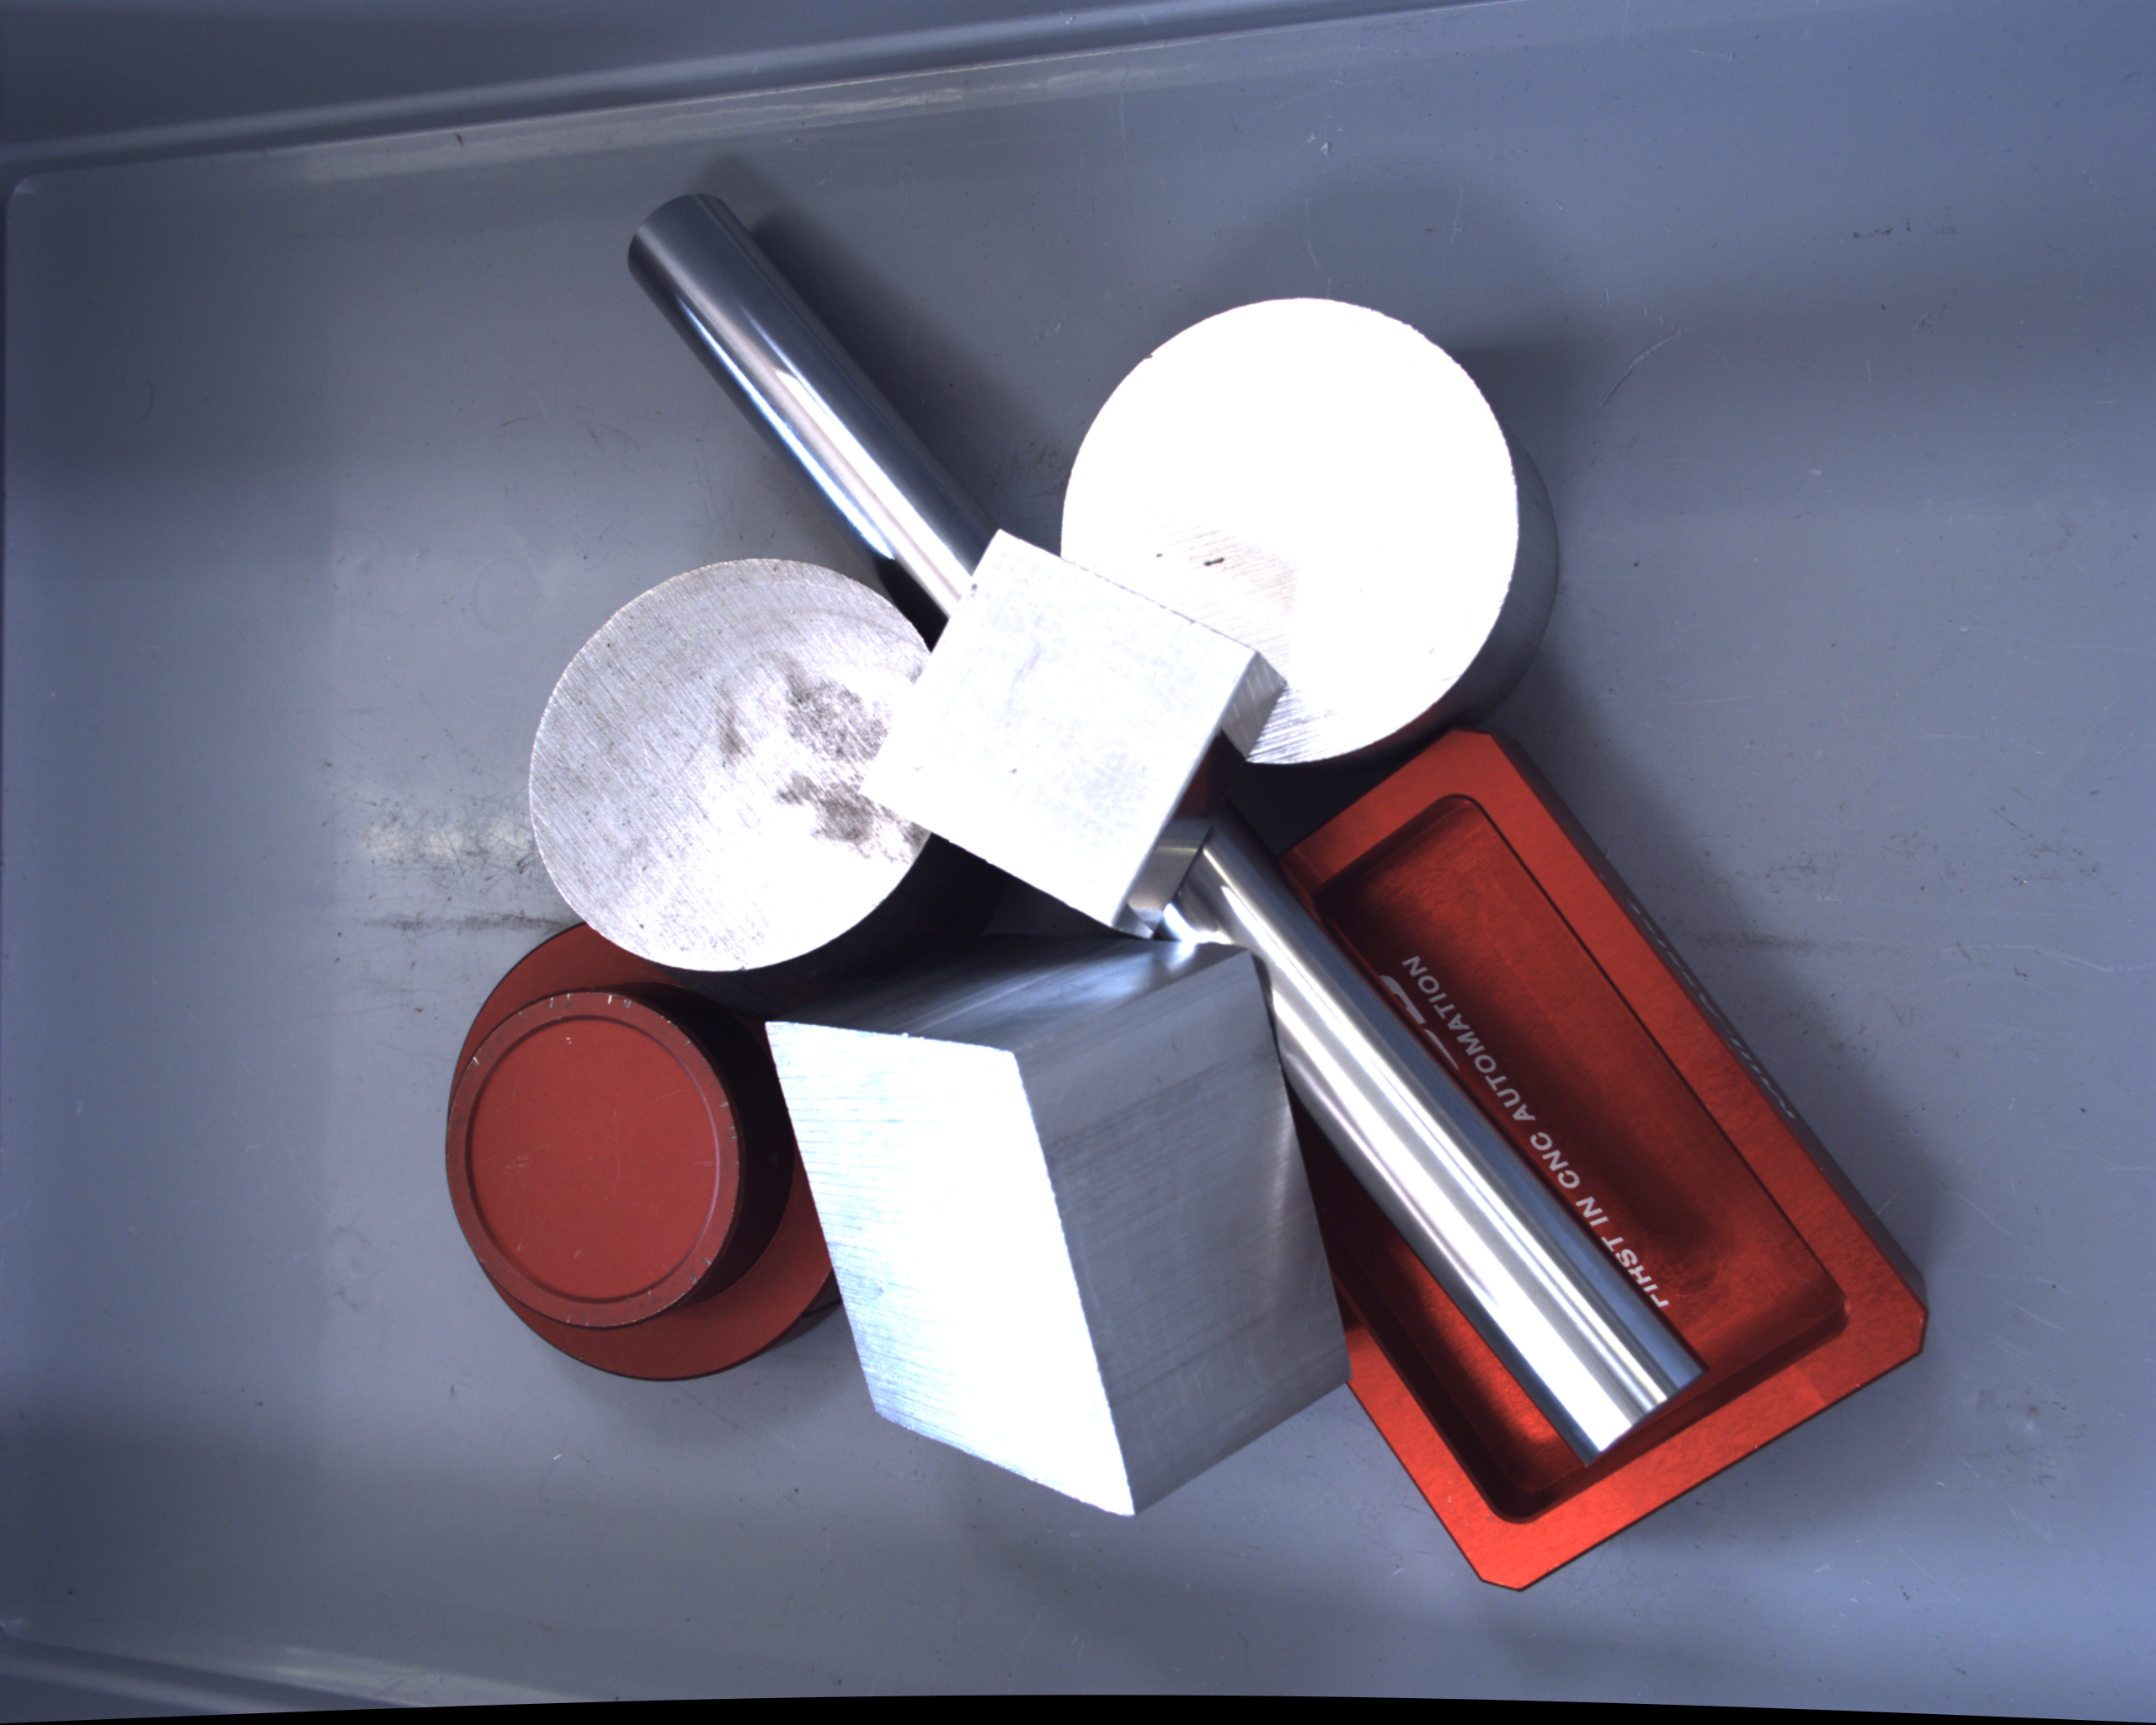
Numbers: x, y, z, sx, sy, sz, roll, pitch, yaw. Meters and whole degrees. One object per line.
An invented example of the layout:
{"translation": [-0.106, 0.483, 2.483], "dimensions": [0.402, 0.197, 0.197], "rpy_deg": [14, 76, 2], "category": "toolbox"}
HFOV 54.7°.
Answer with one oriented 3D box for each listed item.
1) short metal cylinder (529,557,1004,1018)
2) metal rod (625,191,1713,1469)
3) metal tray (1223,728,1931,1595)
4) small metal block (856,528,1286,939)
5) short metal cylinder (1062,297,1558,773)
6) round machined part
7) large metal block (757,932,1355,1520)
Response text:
{"translation": [-0.057, -0.012, 0.404], "dimensions": [0.080, 0.050, 0.080], "rpy_deg": [-3, 73, 10], "category": "short metal cylinder"}
{"translation": [0.003, -0.022, 0.381], "dimensions": [0.025, 0.025, 0.300], "rpy_deg": [-45, 67, 14], "category": "metal rod"}
{"translation": [0.077, 0.052, 0.379], "dimensions": [0.090, 0.030, 0.130], "rpy_deg": [-38, 78, 16], "category": "metal tray"}
{"translation": [-0.001, -0.021, 0.353], "dimensions": [0.050, 0.025, 0.050], "rpy_deg": [28, 91, 18], "category": "small metal block"}
{"translation": [0.044, -0.057, 0.380], "dimensions": [0.080, 0.050, 0.079], "rpy_deg": [0, 90, 20], "category": "short metal cylinder"}
{"translation": [-0.090, 0.059, 0.430], "dimensions": [0.098, 0.042, 0.097], "rpy_deg": [0, 90, 19], "category": "round machined part"}
{"translation": [-0.005, 0.059, 0.369], "dimensions": [0.080, 0.050, 0.080], "rpy_deg": [-1, 107, 53], "category": "large metal block"}
